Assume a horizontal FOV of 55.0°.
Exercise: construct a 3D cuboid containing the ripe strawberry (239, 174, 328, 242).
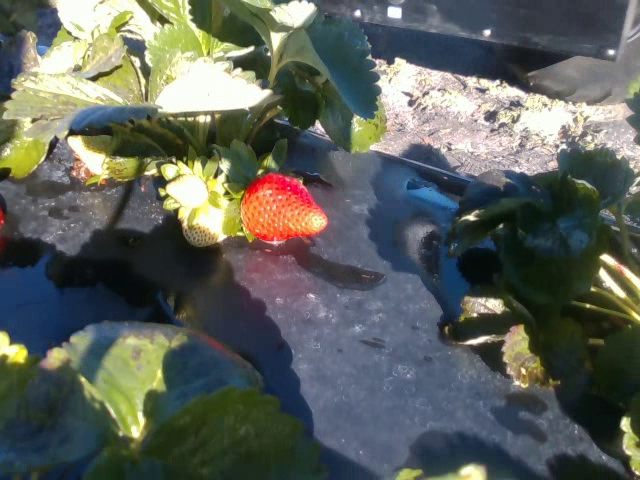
[{"bbox_3d":[-0.017,-0.015,0.345,0.064,0.050,0.052,22,-19,37],"label":"ripe strawberry"}]
